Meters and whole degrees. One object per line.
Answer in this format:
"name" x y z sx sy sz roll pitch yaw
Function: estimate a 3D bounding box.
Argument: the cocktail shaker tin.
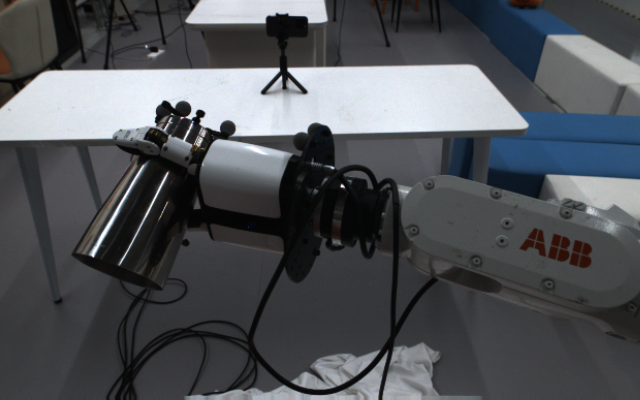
"cocktail shaker tin" -0.170 -0.004 0.507 0.093 0.093 0.170 12 65 14
